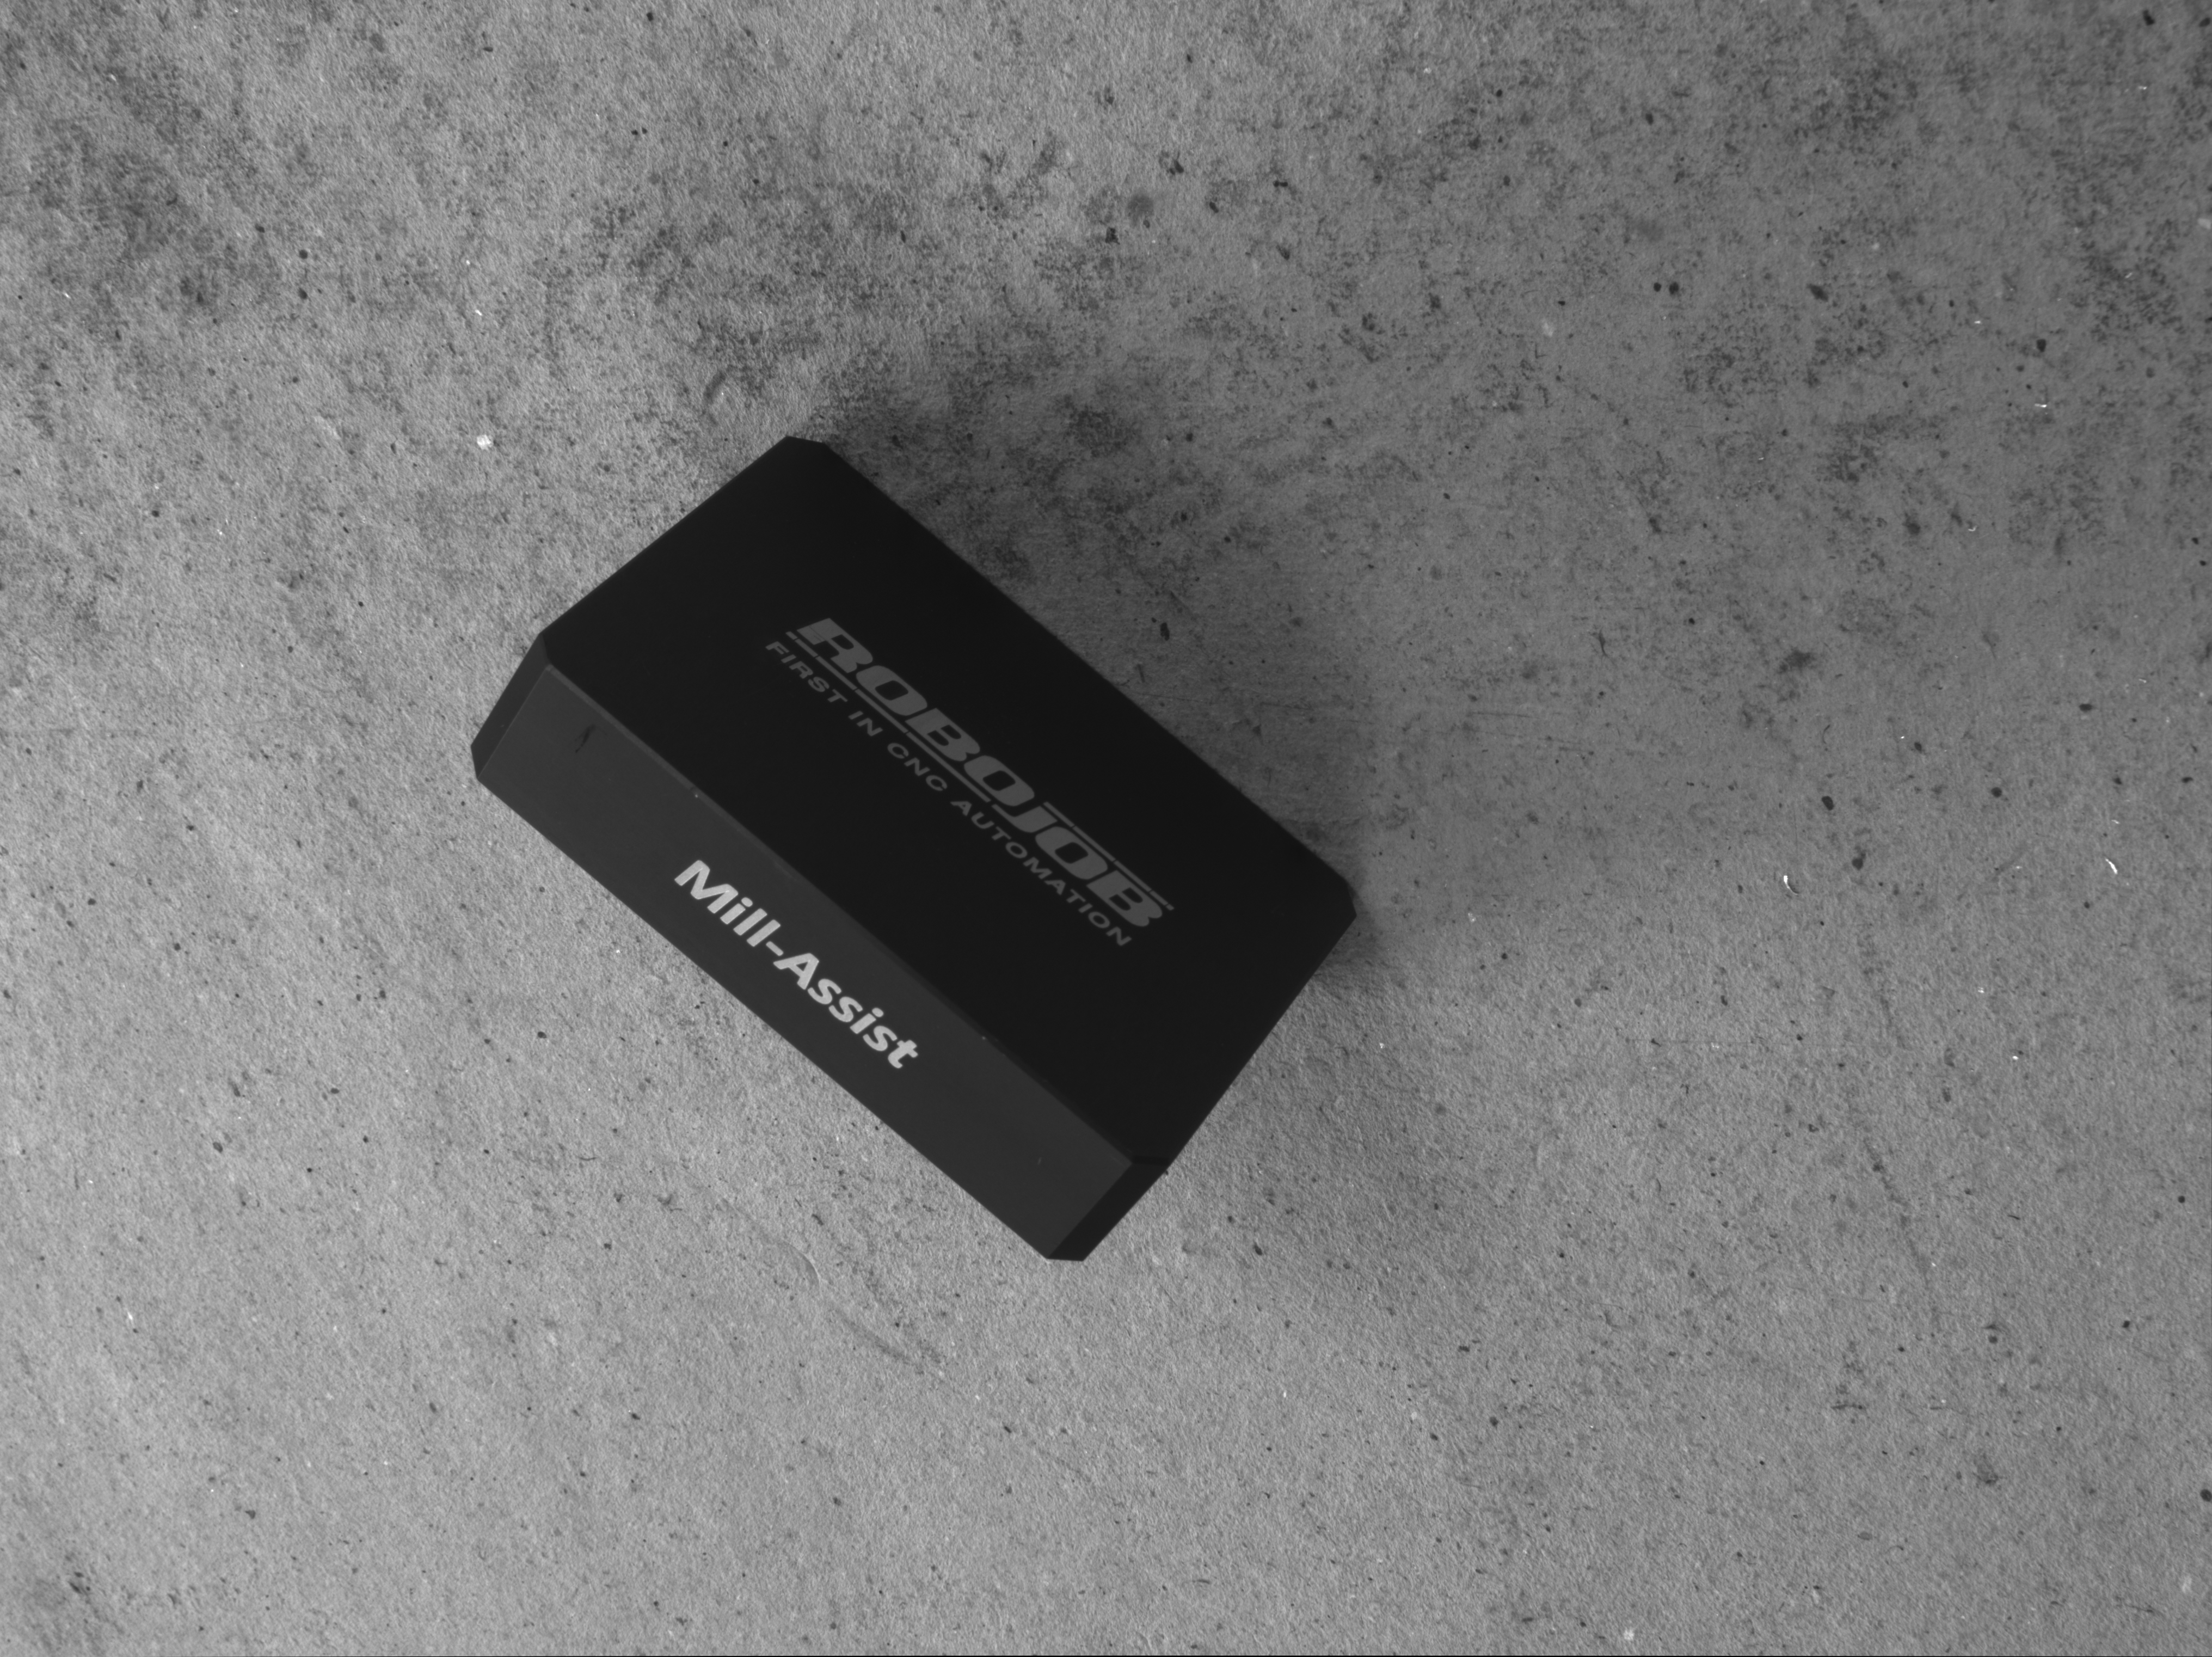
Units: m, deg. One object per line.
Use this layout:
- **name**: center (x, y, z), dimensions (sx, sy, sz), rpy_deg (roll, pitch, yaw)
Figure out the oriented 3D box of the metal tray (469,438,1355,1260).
- **metal tray**: center (-0.030, 0.001, 0.618), dimensions (0.130, 0.090, 0.030), rpy_deg (40, 129, 1)
